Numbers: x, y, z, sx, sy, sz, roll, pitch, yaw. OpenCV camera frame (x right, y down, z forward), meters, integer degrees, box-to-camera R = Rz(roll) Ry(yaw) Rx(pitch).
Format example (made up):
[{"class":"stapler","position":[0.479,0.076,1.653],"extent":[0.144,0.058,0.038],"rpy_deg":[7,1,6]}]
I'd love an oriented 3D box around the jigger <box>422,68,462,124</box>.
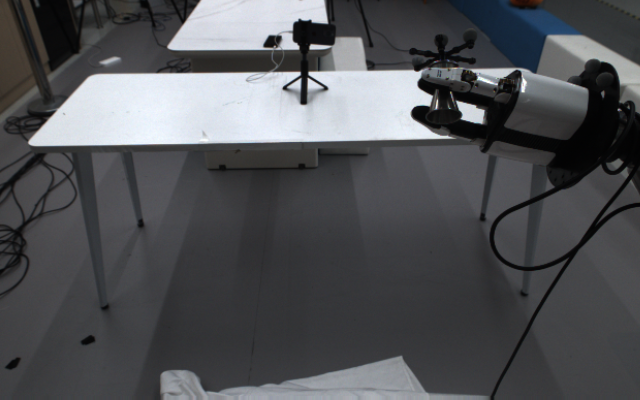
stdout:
[{"class":"jigger","position":[0.153,-0.136,0.611],"extent":[0.043,0.043,0.071],"rpy_deg":[3,75,1]}]
